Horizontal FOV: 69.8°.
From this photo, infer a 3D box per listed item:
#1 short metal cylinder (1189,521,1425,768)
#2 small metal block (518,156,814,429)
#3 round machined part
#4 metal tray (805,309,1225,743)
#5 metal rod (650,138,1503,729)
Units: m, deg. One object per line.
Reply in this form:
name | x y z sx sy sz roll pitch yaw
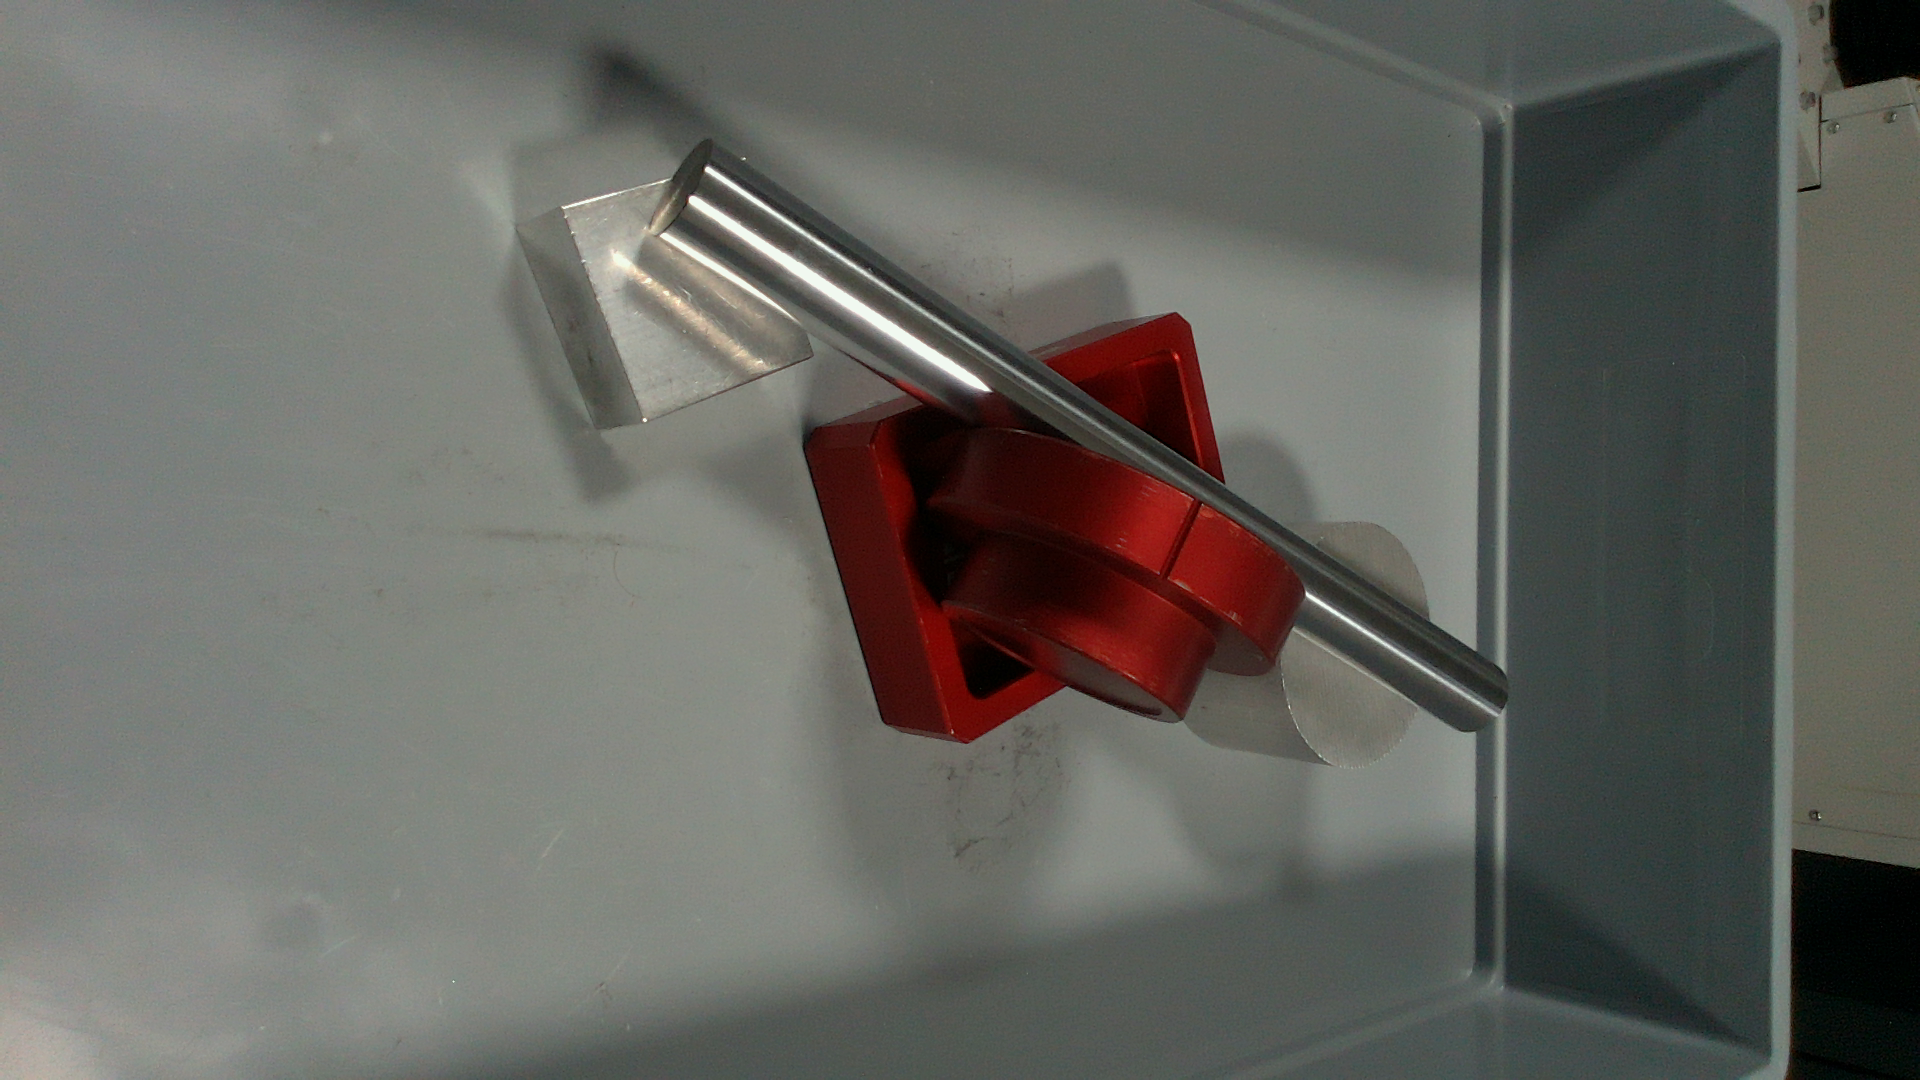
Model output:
short metal cylinder | 0.114 0.034 0.466 0.080 0.050 0.080 0 90 -40
small metal block | -0.069 -0.059 0.329 0.050 0.025 0.050 -28 107 -36
round machined part | 0.034 0.014 0.352 0.098 0.098 0.042 34 77 -35
metal tray | 0.025 -0.008 0.404 0.130 0.030 0.090 -24 105 -37
metal rod | 0.052 -0.014 0.378 0.301 0.025 0.025 29 72 -29
